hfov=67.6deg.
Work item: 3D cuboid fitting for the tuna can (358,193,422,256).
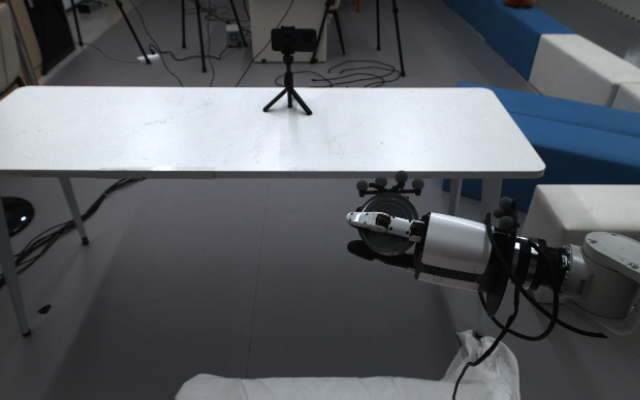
[{"bbox_3d":[0.097,0.033,0.679,0.085,0.034,0.085,-5,71,15],"label":"tuna can"}]
